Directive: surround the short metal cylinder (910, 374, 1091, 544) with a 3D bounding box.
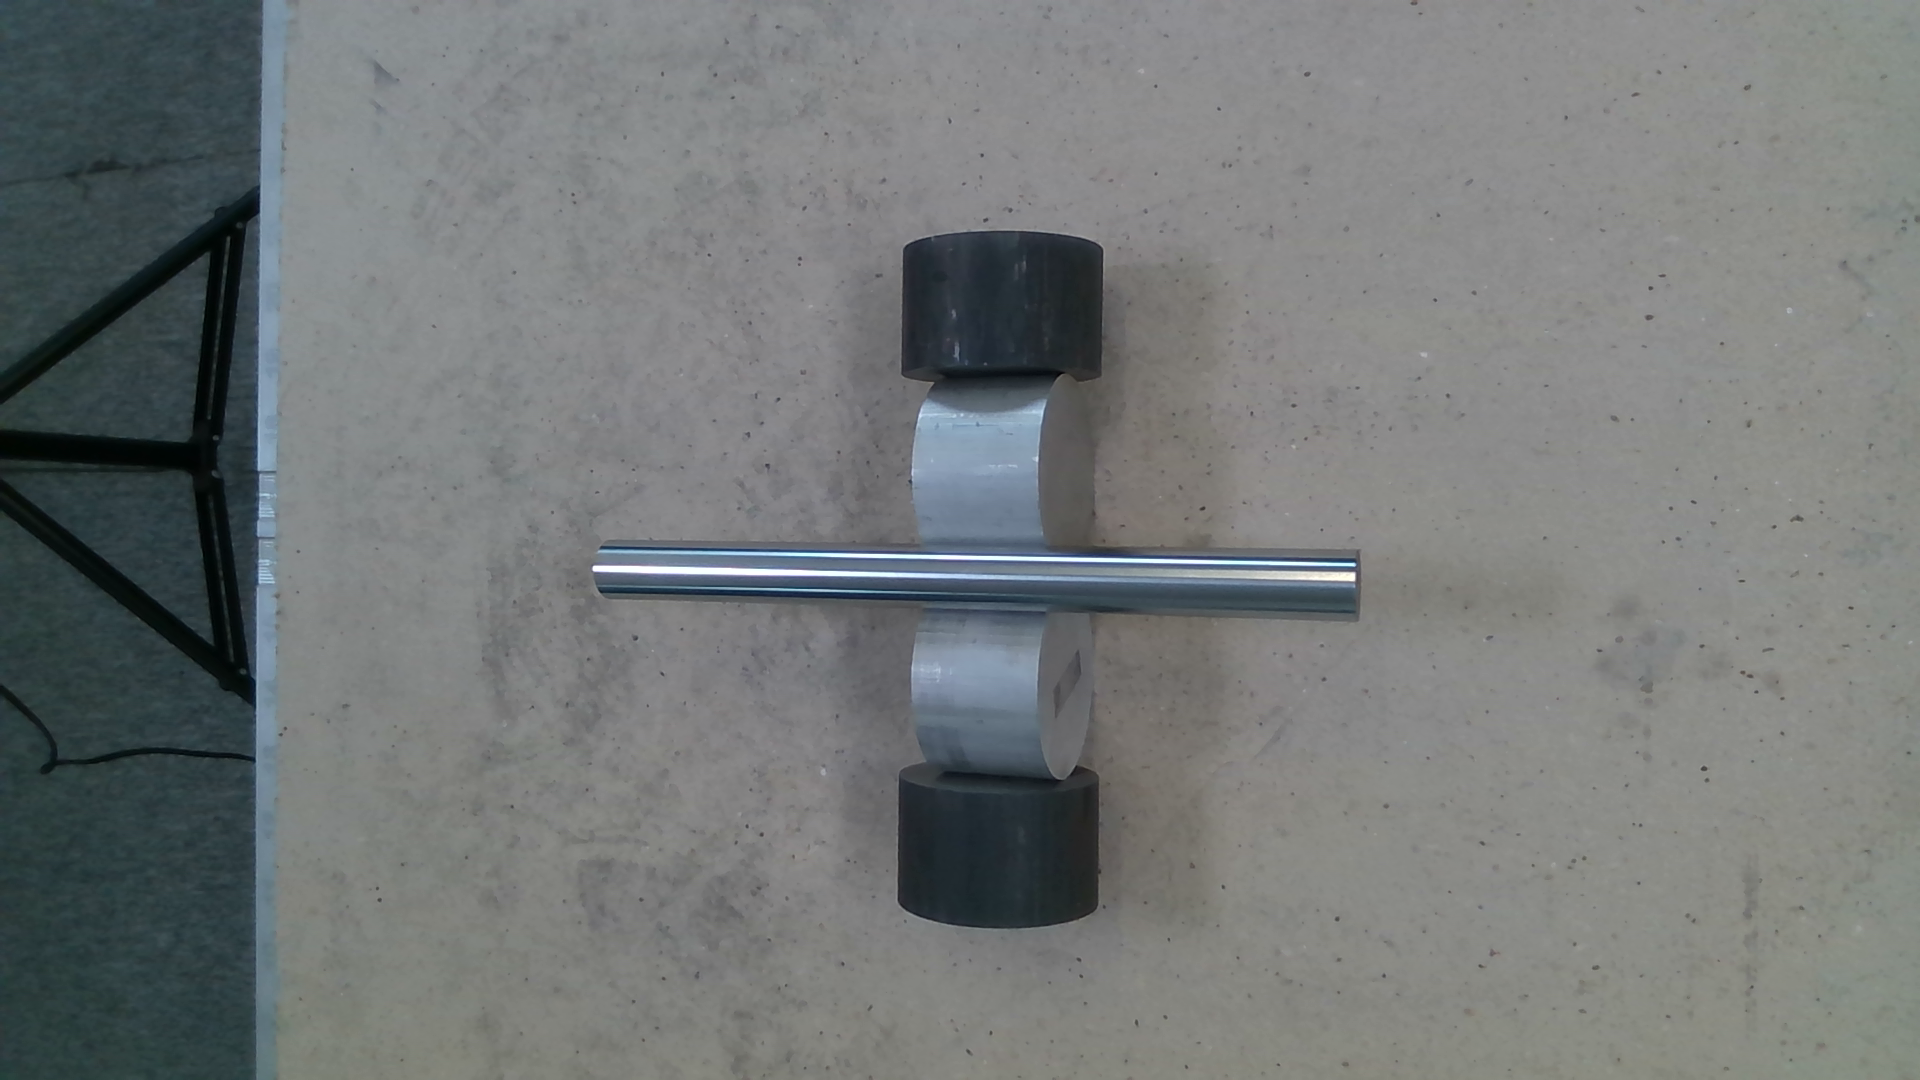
[{"bbox_3d":[0.018,-0.026,0.550,0.050,0.080,0.080,1,91,20],"label":"short metal cylinder"}]

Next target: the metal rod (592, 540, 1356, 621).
[{"bbox_3d":[-0.005,0.014,0.523,0.300,0.025,0.025,1,91,20],"label":"metal rod"}]

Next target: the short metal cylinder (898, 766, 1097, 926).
[{"bbox_3d":[0.015,0.119,0.553,0.080,0.080,0.050,1,91,20],"label":"short metal cylinder"}]

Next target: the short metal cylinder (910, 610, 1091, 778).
[{"bbox_3d":[0.018,0.053,0.550,0.050,0.080,0.080,1,91,20],"label":"short metal cylinder"}]

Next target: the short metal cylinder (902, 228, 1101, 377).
[{"bbox_3d":[0.016,-0.091,0.550,0.080,0.080,0.050,1,91,20],"label":"short metal cylinder"}]
